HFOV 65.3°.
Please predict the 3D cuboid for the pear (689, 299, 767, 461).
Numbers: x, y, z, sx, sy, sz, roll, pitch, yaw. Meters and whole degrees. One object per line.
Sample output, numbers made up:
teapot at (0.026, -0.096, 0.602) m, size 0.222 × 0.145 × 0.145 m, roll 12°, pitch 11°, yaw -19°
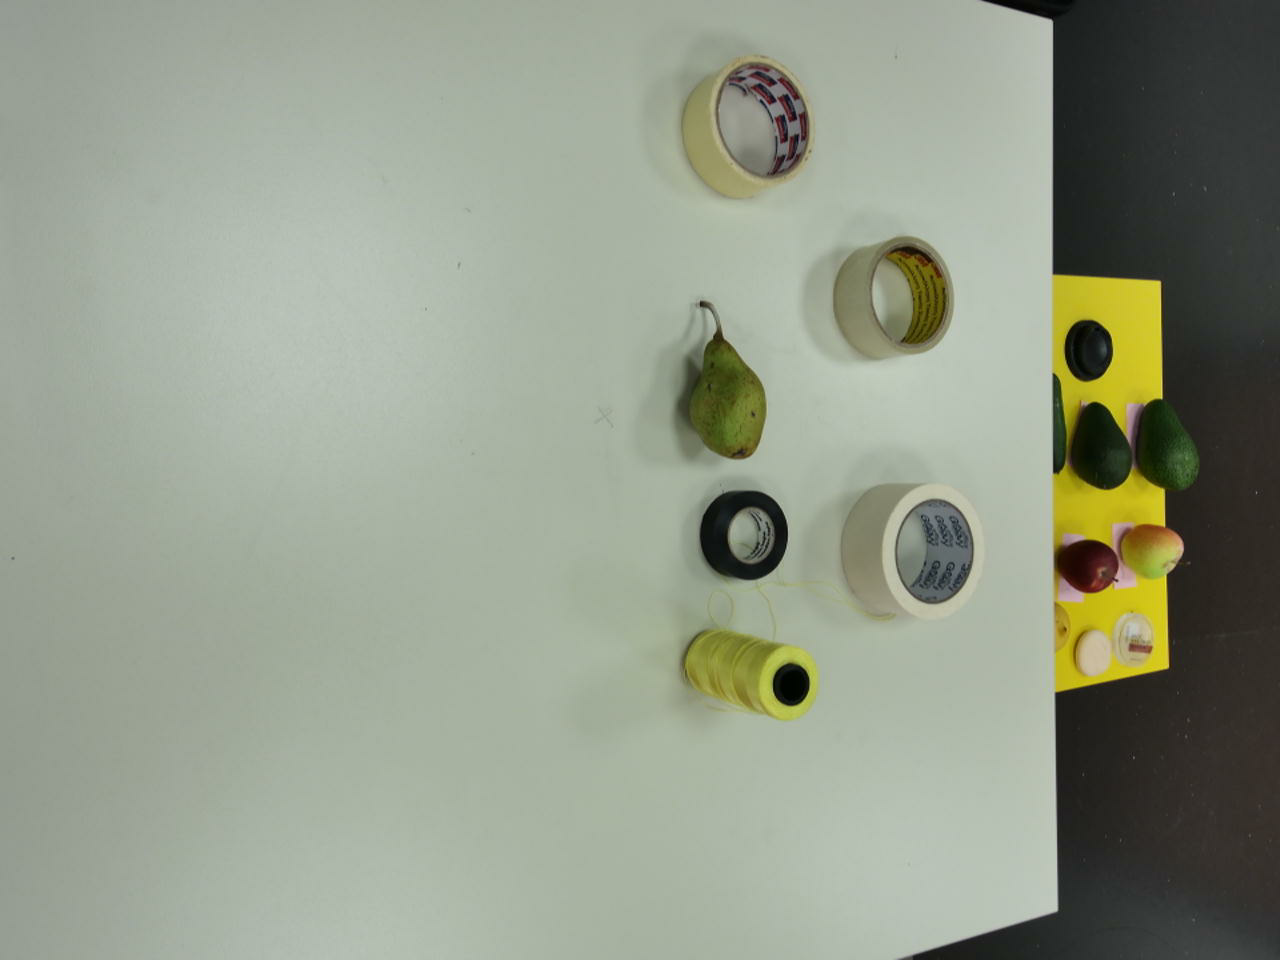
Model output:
pear at (0.067, -0.071, 0.711) m, size 0.056 × 0.056 × 0.111 m, roll 15°, pitch 83°, yaw -27°
